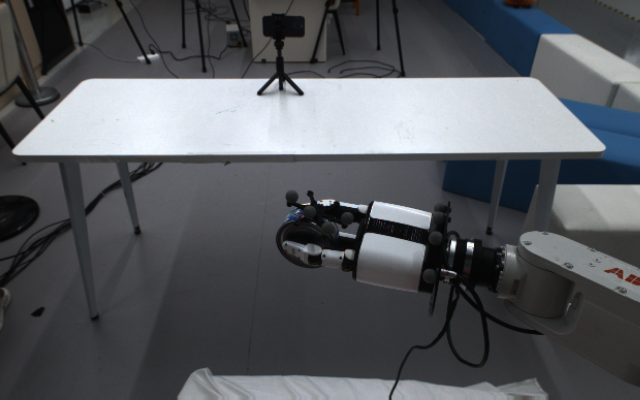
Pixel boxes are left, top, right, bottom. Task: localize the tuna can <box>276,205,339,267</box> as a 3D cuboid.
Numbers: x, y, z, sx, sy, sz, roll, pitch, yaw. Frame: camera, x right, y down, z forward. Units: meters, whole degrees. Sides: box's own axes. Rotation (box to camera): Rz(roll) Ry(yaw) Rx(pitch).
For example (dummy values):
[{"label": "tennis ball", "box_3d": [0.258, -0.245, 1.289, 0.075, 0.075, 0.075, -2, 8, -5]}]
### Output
[{"label": "tuna can", "box_3d": [-0.015, 0.054, 0.684, 0.085, 0.085, 0.034, 9, 35, 10]}]
